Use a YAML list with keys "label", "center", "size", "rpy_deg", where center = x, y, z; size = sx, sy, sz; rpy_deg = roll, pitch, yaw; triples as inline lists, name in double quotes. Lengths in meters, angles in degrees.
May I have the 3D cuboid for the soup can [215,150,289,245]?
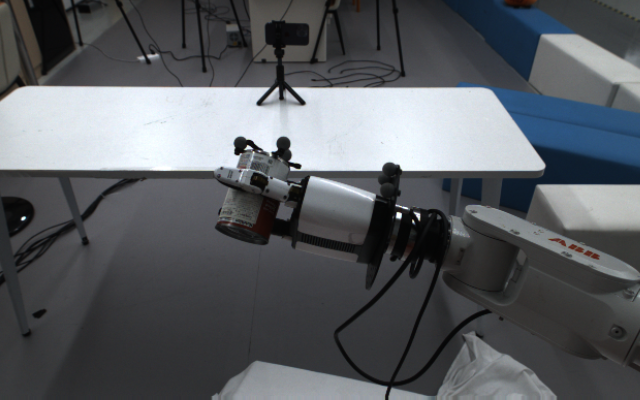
- label: "soup can"
  center: [-0.081, -0.002, 0.602]
  size: [0.067, 0.067, 0.101]
  rpy_deg: [11, 72, 13]
